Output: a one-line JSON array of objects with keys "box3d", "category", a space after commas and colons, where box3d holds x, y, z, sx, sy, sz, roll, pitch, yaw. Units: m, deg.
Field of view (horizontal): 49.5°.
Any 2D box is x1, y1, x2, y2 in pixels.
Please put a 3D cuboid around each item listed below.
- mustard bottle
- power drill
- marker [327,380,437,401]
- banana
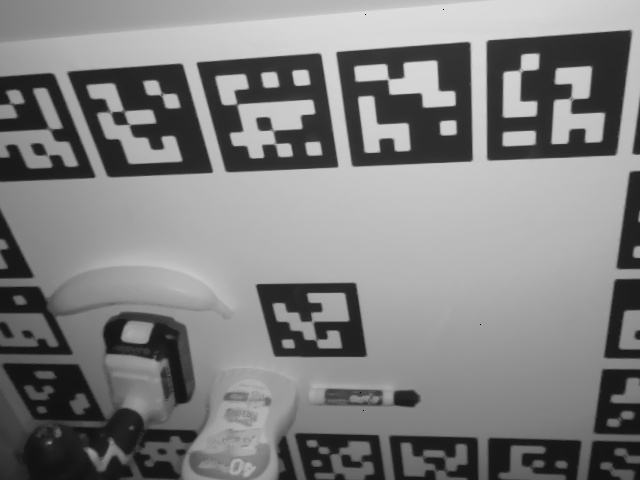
[{"box3d": [-0.071, 0.209, 0.712, 0.096, 0.194, 0.058, 8, 123, 6], "category": "mustard bottle"}, {"box3d": [-0.185, 0.166, 0.685, 0.057, 0.189, 0.182, 10, 125, 6], "category": "power drill"}, {"box3d": [0.068, 0.167, 0.767, 0.120, 0.020, 0.019, 0, 120, 9], "category": "marker"}, {"box3d": [-0.172, 0.041, 0.720, 0.197, 0.039, 0.073, 4, 120, 5], "category": "banana"}]
